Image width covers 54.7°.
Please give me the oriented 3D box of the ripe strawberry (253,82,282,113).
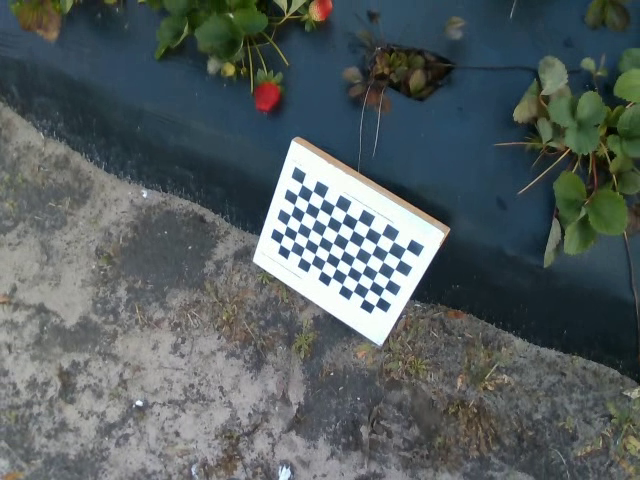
[{"bbox_3d":[-0.086,-0.219,0.964,0.045,0.055,0.042,-14,-45,39],"label":"ripe strawberry"}]
